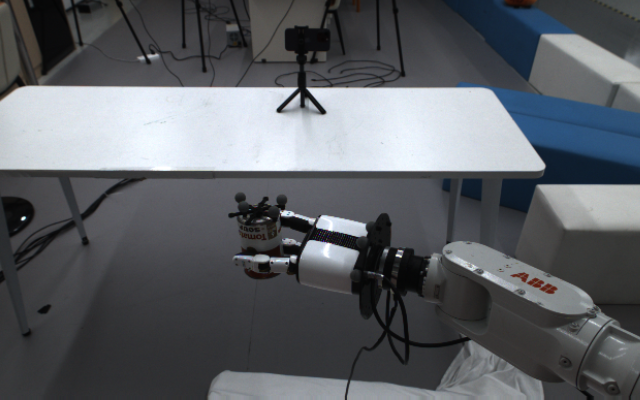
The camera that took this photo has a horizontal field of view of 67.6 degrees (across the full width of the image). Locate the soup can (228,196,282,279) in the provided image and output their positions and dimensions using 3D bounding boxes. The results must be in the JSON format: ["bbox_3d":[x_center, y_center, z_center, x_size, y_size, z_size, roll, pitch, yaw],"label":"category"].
[{"bbox_3d":[-0.092,0.067,0.769,0.067,0.101,0.067,-3,26,2],"label":"soup can"}]
